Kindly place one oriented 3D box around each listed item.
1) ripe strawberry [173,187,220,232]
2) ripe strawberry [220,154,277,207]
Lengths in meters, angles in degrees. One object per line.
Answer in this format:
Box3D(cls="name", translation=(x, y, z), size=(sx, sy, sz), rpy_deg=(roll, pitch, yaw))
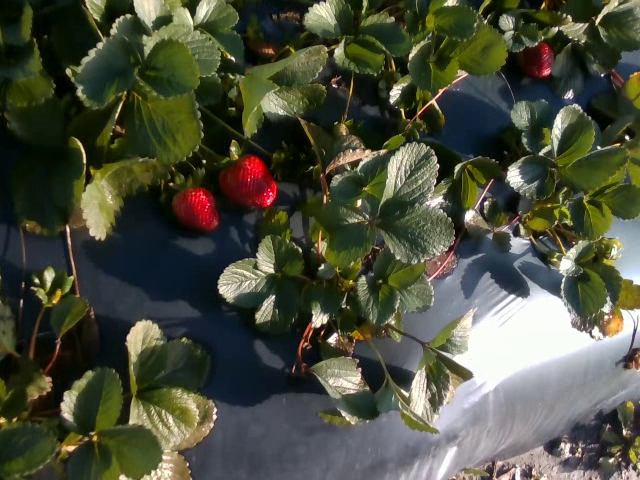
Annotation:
Box3D(cls="ripe strawberry", translation=(-0.104, -0.024, 0.519), size=(0.051, 0.043, 0.037), rpy_deg=(40, 7, 9))
Box3D(cls="ripe strawberry", translation=(-0.060, -0.049, 0.541), size=(0.052, 0.057, 0.046), rpy_deg=(-44, -11, 1))
